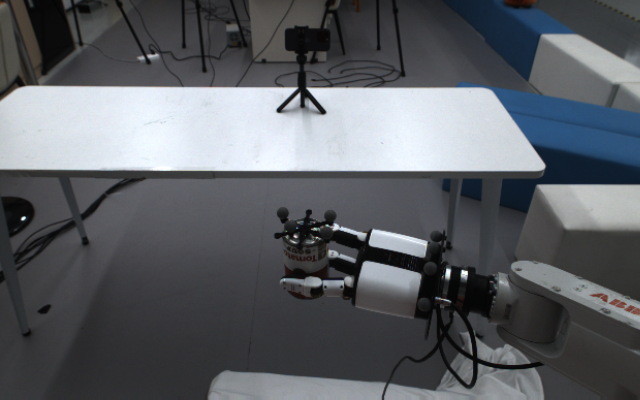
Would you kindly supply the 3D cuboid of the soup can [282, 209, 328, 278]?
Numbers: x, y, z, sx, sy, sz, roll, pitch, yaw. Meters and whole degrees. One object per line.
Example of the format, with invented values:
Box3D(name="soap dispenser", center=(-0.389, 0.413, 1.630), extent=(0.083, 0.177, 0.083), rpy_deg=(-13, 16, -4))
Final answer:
Box3D(name="soup can", center=(-0.018, 0.085, 0.710), extent=(0.067, 0.101, 0.067), rpy_deg=(-2, 34, 1))
